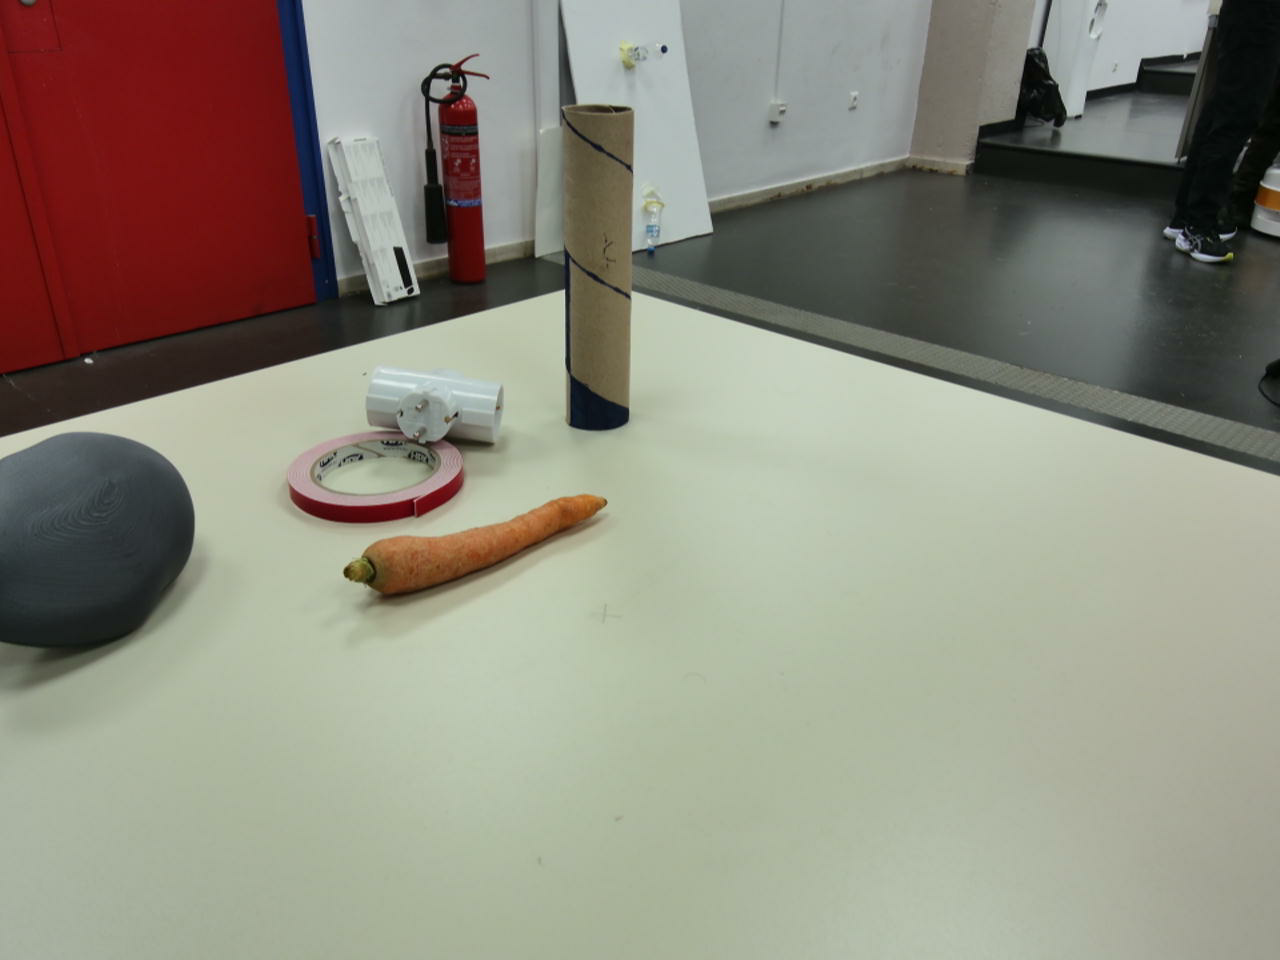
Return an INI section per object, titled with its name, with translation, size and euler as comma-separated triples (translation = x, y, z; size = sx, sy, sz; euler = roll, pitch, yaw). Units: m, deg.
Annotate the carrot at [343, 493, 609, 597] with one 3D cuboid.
[carrot]
translation = -0.085, 0.031, 0.562
size = 0.173, 0.032, 0.030
euler = -18, 31, -35
